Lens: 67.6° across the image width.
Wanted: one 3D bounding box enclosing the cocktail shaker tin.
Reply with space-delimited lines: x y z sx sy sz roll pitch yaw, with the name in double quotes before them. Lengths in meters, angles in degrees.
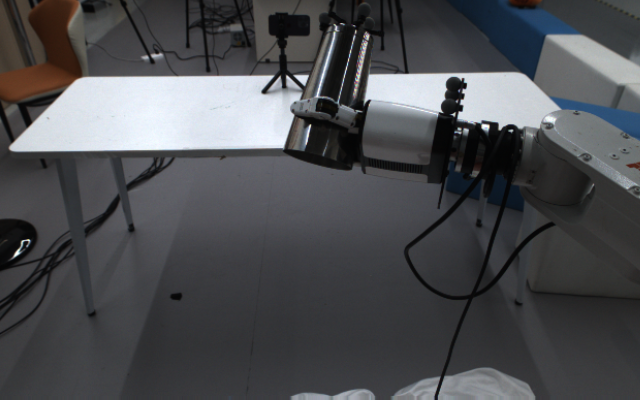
"cocktail shaker tin" 0.018 -0.133 0.626 0.093 0.170 0.093 15 -4 1
